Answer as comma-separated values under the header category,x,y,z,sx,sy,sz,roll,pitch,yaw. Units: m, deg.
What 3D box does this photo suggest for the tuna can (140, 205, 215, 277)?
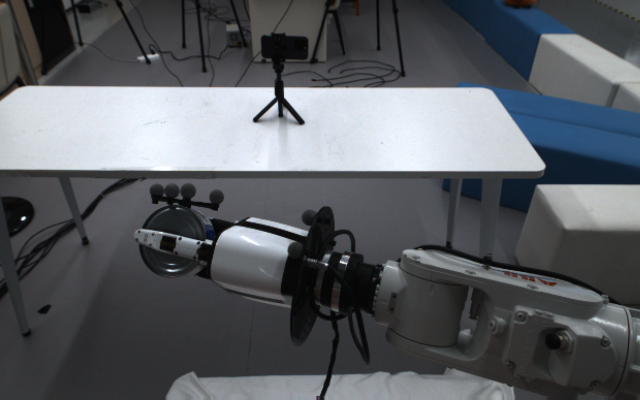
category,x,y,z,sx,sy,sz,roll,pitch,yaw
tuna can,-0.169,0.050,0.581,0.085,0.085,0.034,11,-6,13
